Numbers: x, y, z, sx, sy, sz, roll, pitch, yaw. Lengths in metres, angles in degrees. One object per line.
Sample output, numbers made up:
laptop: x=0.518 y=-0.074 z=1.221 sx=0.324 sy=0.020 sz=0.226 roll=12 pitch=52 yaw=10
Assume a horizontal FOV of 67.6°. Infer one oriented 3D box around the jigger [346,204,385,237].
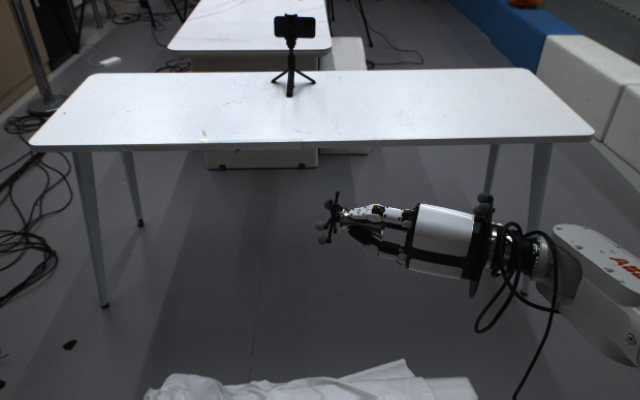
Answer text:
jigger: x=0.076 y=0.032 z=0.785 sx=0.071 sy=0.043 sz=0.043 roll=9 pitch=35 yaw=16
